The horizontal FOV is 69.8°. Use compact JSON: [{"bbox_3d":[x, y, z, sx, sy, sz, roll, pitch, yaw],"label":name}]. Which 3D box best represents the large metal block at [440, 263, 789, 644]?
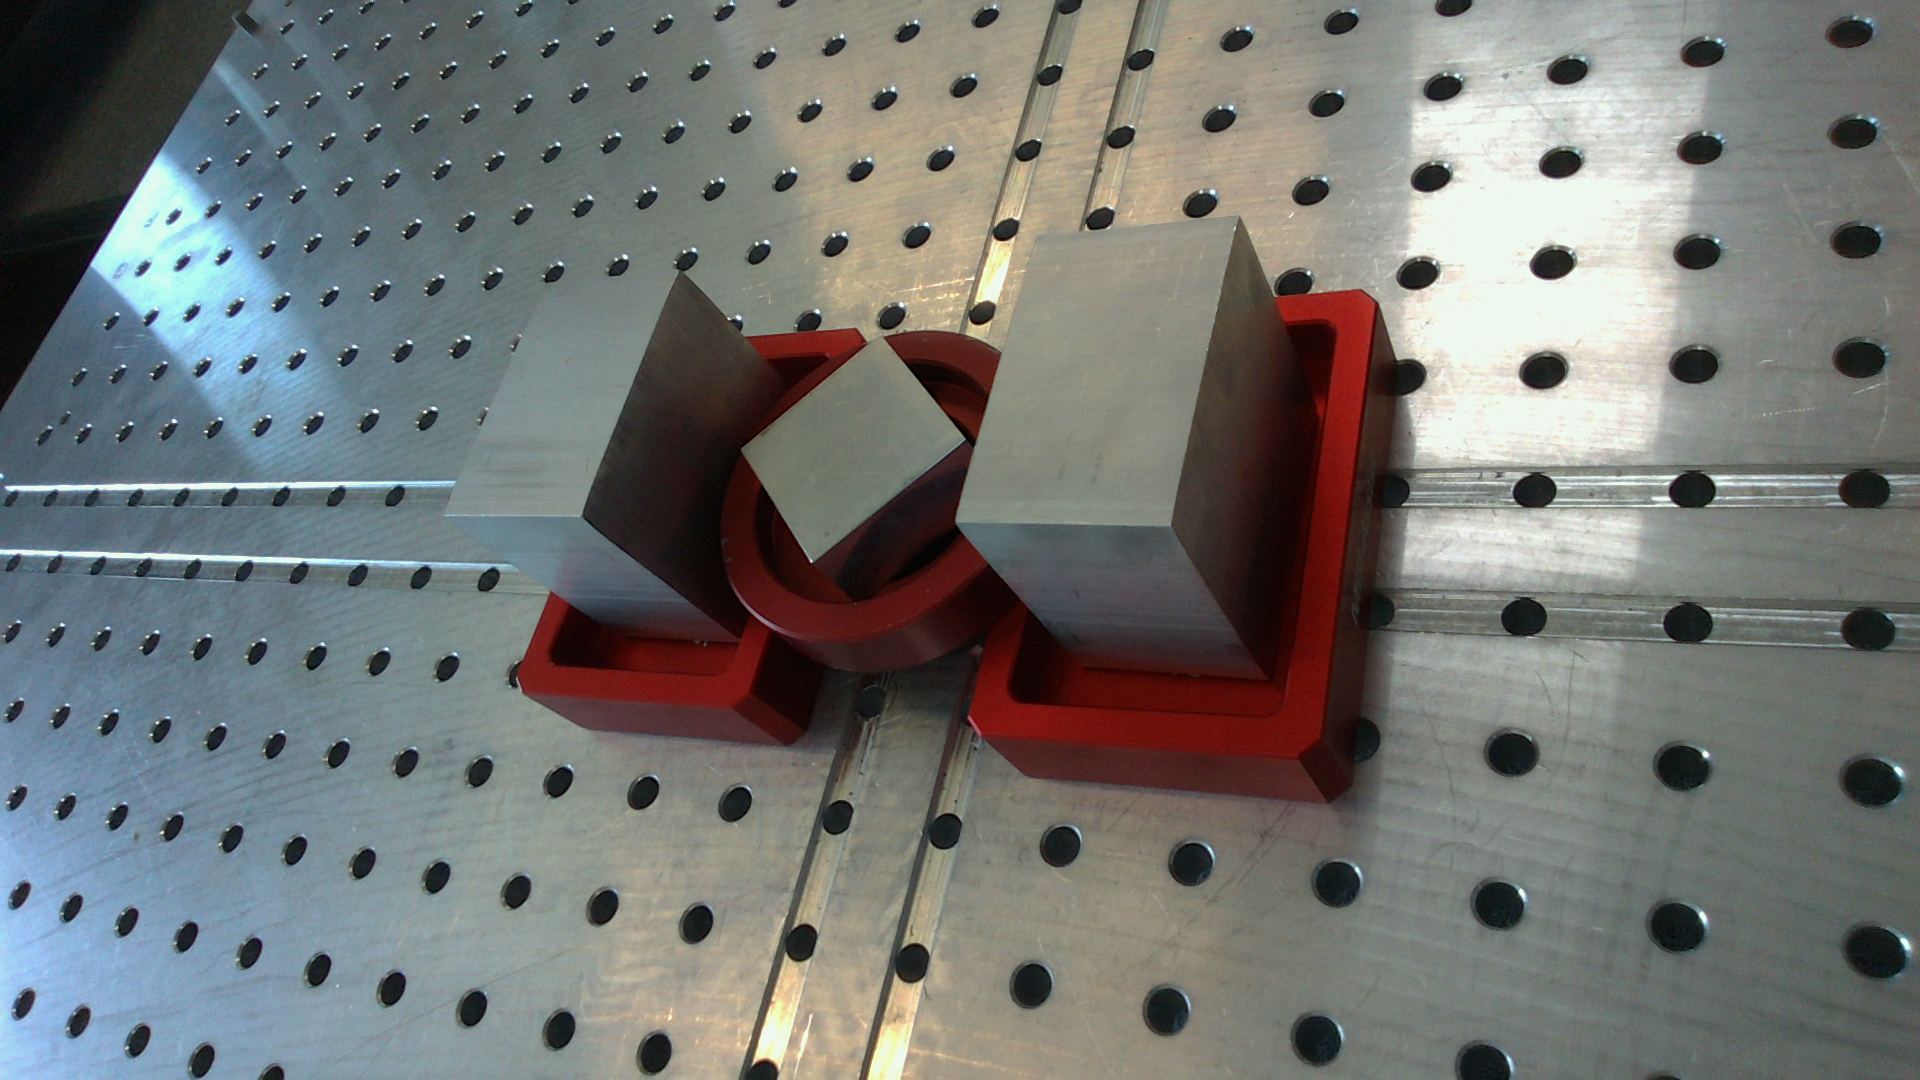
[{"bbox_3d":[-0.093,-0.023,0.408,0.050,0.080,0.080,1,62,29],"label":"large metal block"}]

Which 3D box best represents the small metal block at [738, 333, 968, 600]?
[{"bbox_3d":[-0.024,-0.019,0.369,0.050,0.025,0.050,-39,51,2],"label":"small metal block"}]

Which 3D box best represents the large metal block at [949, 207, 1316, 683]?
[{"bbox_3d":[0.046,-0.020,0.331,0.050,0.080,0.080,1,62,29],"label":"large metal block"}]

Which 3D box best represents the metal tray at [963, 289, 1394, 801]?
[{"bbox_3d":[0.060,-0.002,0.361,0.090,0.030,0.130,0,61,28],"label":"metal tray"}]

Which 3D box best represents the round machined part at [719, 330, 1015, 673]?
[{"bbox_3d":[-0.015,-0.007,0.387,0.098,0.042,0.098,-13,56,21],"label":"round machined part"}]

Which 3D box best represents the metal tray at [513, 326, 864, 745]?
[{"bbox_3d":[-0.078,-0.004,0.437,0.090,0.030,0.130,1,61,29],"label":"metal tray"}]
